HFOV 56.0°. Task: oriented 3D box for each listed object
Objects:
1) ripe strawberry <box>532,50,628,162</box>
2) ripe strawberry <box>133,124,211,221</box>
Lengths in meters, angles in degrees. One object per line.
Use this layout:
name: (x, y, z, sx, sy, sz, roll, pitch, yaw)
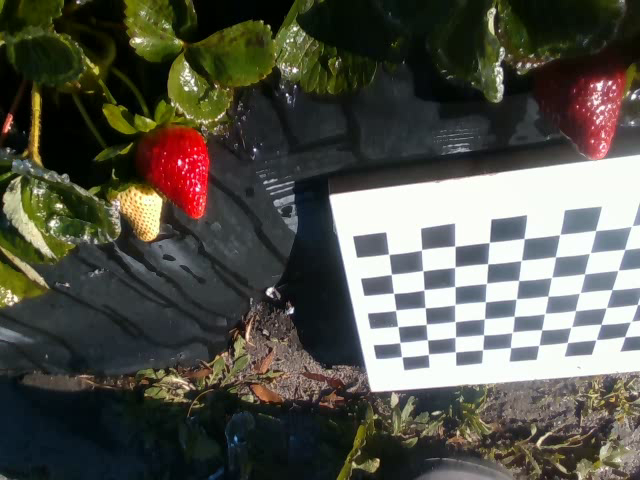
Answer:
ripe strawberry: (0.142, -0.067, 0.317, 0.048, 0.061, 0.044, -11, 15, 12)
ripe strawberry: (-0.081, -0.037, 0.359, 0.042, 0.061, 0.046, -16, 4, 17)
